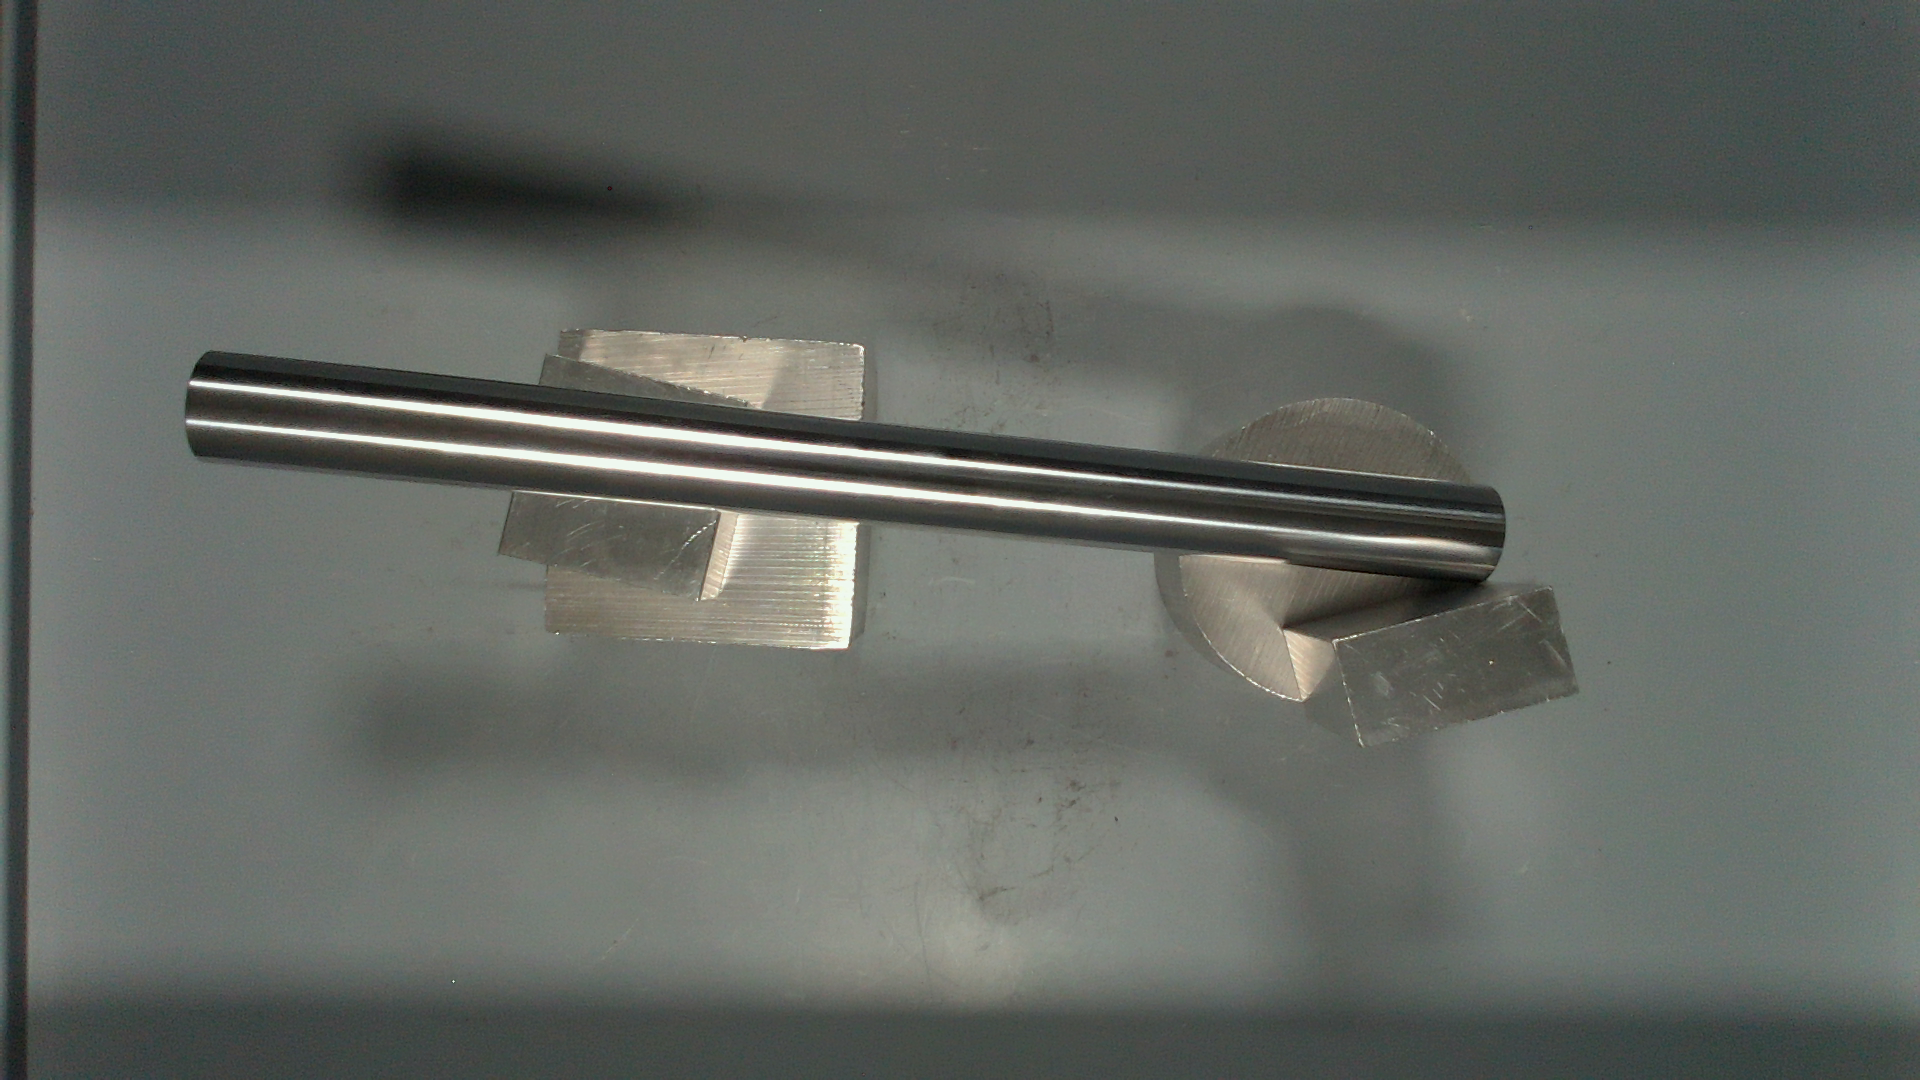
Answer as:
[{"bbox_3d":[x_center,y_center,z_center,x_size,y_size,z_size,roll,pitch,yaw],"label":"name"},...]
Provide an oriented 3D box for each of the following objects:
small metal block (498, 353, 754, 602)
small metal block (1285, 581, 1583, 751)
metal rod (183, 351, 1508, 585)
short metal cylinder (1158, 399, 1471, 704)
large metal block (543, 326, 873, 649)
[{"bbox_3d":[-0.081,-0.015,0.344,0.050,0.025,0.050,13,90,0],"label":"small metal block"},{"bbox_3d":[0.111,0.029,0.331,0.050,0.050,0.025,-15,90,0],"label":"small metal block"},{"bbox_3d":[-0.018,-0.015,0.324,0.300,0.025,0.025,5,90,-8],"label":"metal rod"},{"bbox_3d":[0.098,0.003,0.382,0.080,0.050,0.080,0,90,0],"label":"short metal cylinder"},{"bbox_3d":[-0.066,-0.014,0.380,0.080,0.050,0.080,3,90,0],"label":"large metal block"}]
